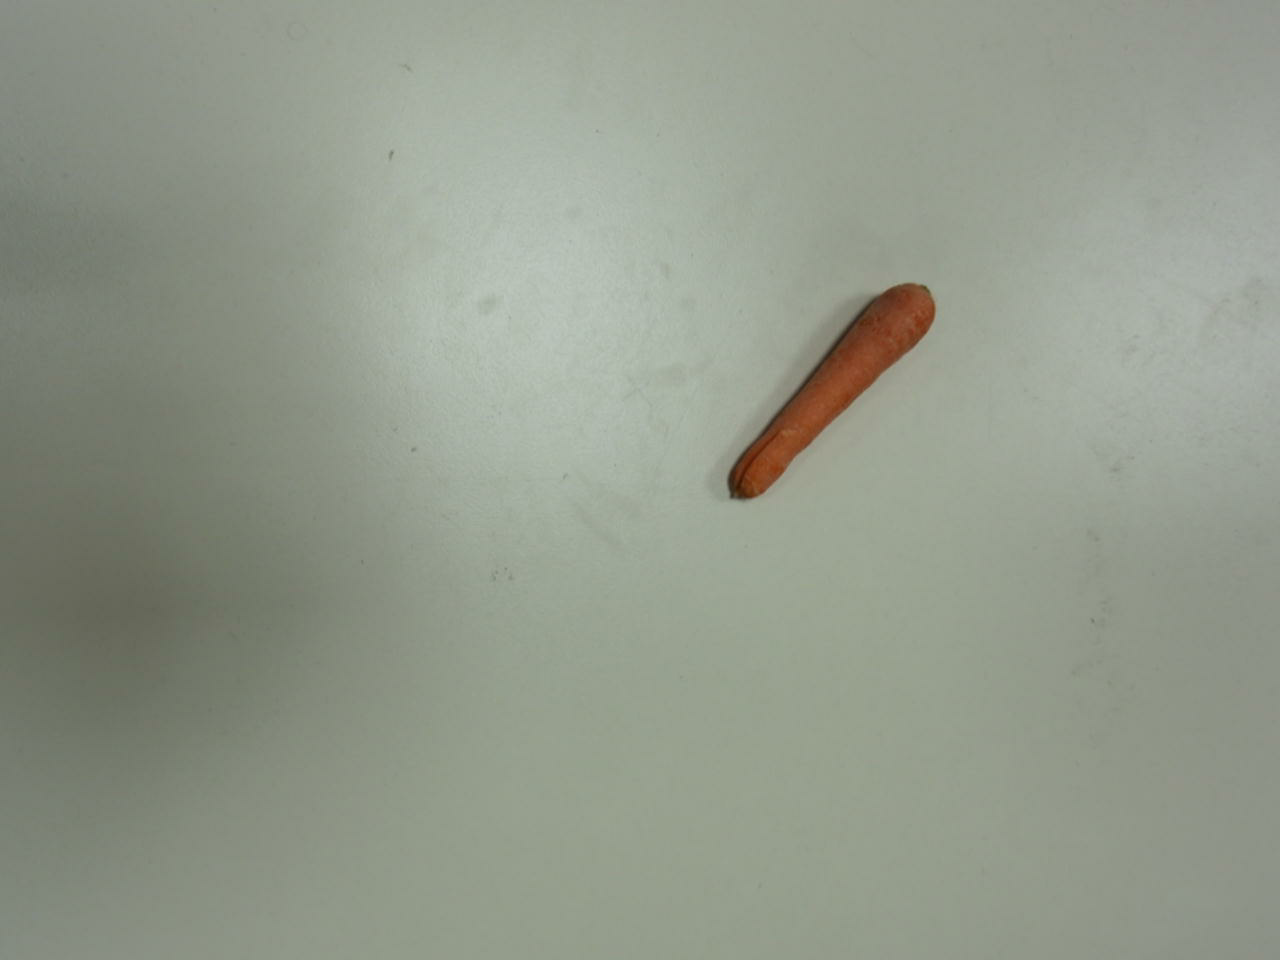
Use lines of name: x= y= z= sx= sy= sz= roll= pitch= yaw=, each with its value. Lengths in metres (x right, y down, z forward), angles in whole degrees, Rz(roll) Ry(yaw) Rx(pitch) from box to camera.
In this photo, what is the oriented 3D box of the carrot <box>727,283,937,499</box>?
carrot: x=0.089 y=-0.042 z=0.467 sx=0.030 sy=0.032 sz=0.136 roll=45 pitch=81 yaw=-9
